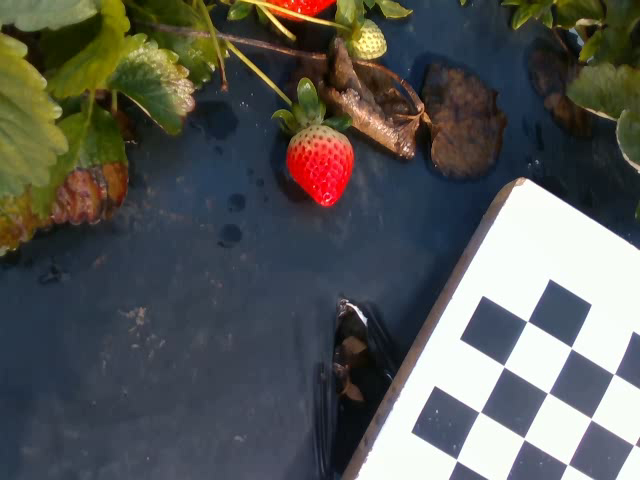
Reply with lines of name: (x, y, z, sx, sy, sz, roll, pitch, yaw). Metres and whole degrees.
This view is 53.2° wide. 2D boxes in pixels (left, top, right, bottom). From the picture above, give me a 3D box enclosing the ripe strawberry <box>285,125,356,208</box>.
ripe strawberry: (0.000, -0.034, 0.287, 0.035, 0.043, 0.030, -5, -11, -10)
